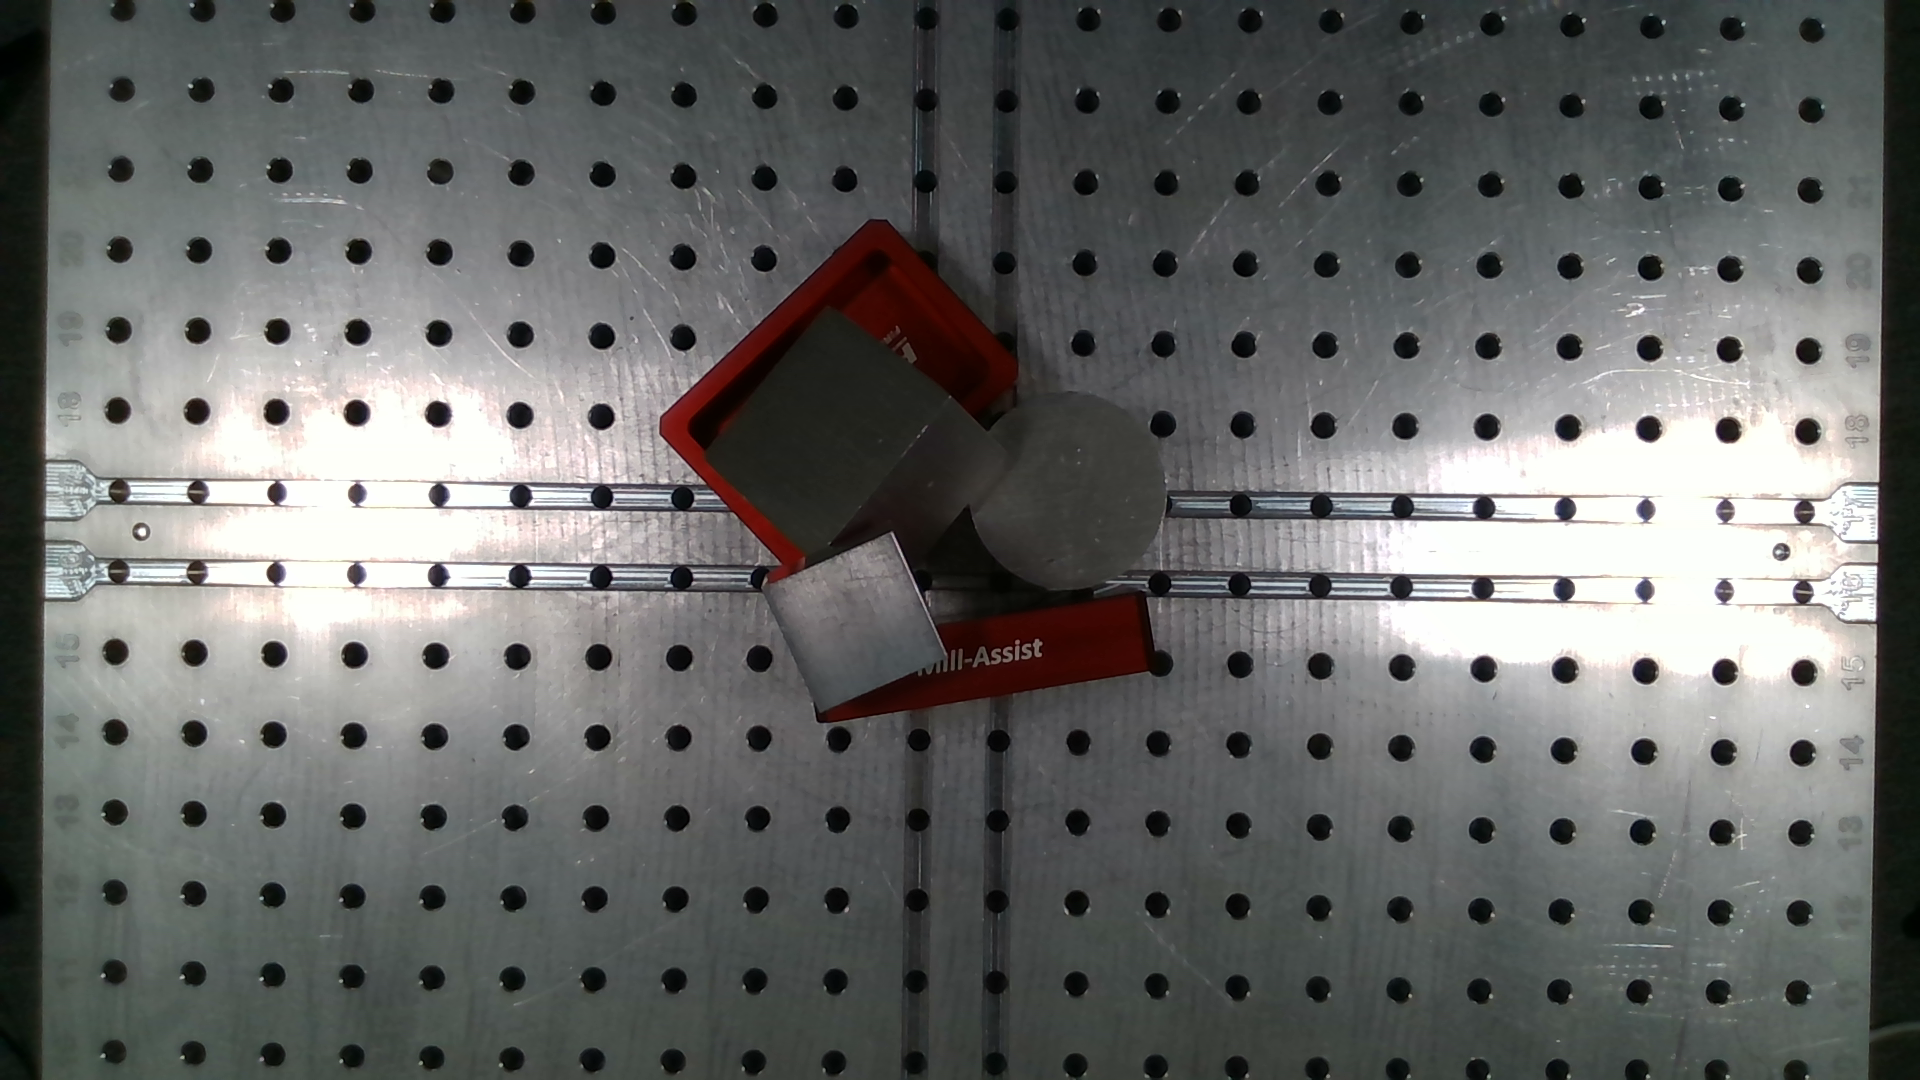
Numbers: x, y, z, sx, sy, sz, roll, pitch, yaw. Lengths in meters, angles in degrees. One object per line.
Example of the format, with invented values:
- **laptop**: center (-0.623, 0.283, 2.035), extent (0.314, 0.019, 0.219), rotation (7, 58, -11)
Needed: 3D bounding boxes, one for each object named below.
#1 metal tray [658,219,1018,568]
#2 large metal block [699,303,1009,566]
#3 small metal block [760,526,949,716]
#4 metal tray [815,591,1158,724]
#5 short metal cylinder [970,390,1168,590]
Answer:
- **metal tray**: center (-0.051, -0.059, 0.585), extent (0.130, 0.030, 0.090), rotation (-43, 90, 0)
- **large metal block**: center (-0.042, -0.033, 0.545), extent (0.080, 0.050, 0.080), rotation (-51, 55, 1)
- **small metal block**: center (-0.038, 0.028, 0.495), extent (0.050, 0.025, 0.050), rotation (-24, 102, 1)
- **metal tray**: center (0.008, 0.044, 0.557), extent (0.130, 0.090, 0.030), rotation (-9, 90, 0)
- **short metal cylinder**: center (0.043, -0.020, 0.577), extent (0.080, 0.050, 0.080), rotation (0, 90, 0)
